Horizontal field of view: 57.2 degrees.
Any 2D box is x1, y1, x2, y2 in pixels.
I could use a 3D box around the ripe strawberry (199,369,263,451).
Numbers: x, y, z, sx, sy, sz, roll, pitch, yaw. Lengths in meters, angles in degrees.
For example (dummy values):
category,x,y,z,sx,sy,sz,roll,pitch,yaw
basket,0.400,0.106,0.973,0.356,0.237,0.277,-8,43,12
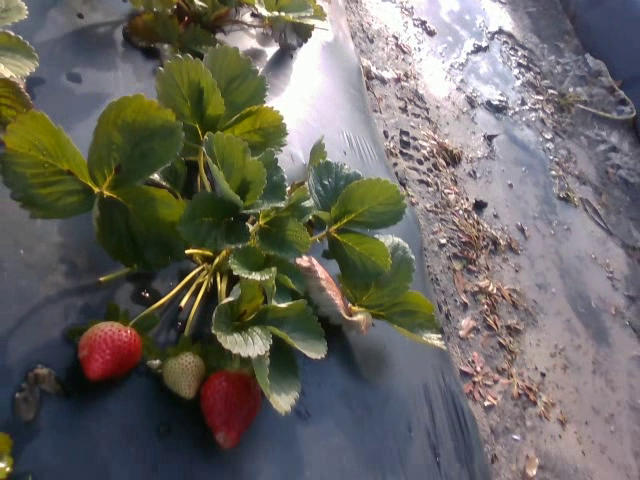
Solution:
category,x,y,z,sx,sy,sz,roll,pitch,yaw
ripe strawberry,-0.070,0.127,0.421,0.048,0.065,0.050,-2,-31,15
